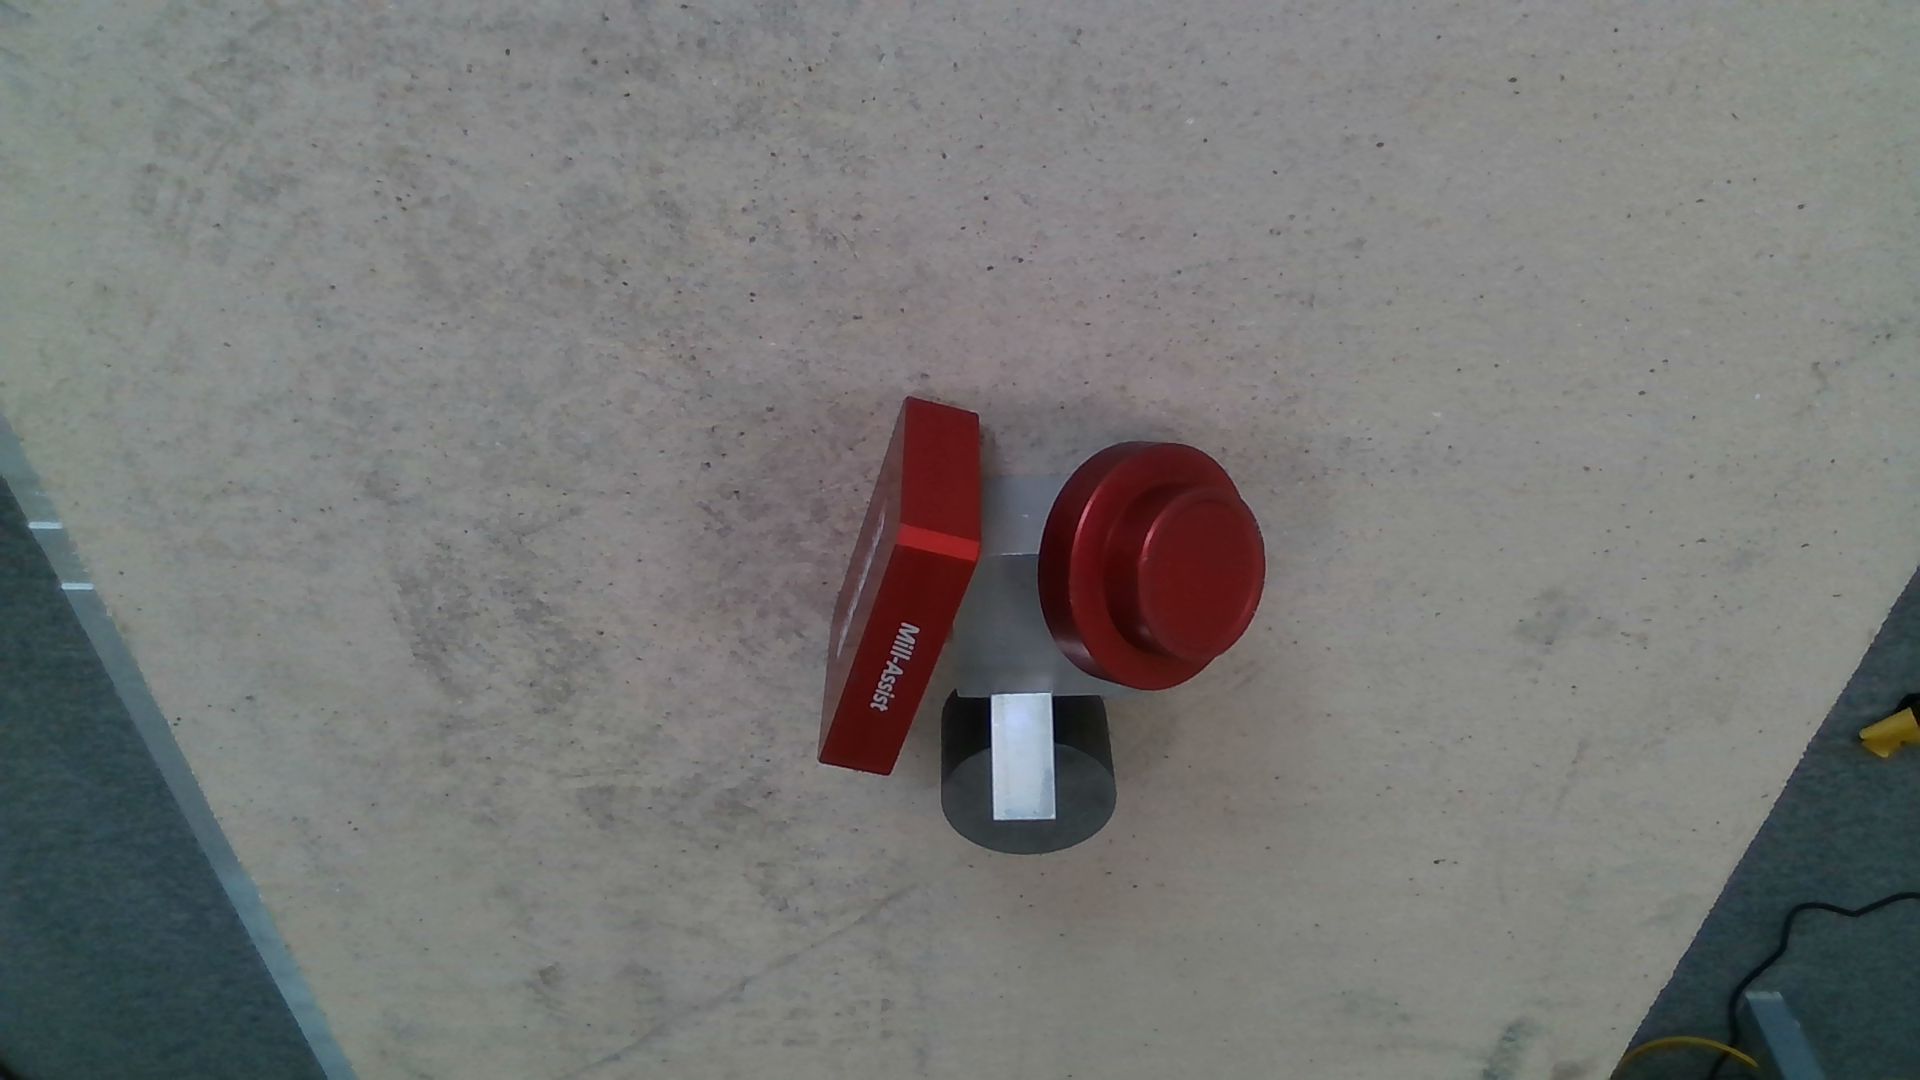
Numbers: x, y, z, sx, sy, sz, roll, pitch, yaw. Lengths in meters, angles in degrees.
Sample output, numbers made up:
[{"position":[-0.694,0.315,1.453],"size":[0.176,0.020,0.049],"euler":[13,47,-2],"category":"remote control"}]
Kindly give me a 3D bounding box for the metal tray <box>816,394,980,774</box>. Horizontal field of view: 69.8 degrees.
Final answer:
[{"position":[-0.026,0.019,0.553],"size":[0.030,0.090,0.130],"euler":[13,129,-11],"category":"metal tray"}]

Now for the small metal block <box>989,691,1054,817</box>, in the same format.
[{"position":[0.027,0.090,0.580],"size":[0.025,0.050,0.050],"euler":[-2,171,4],"category":"small metal block"}]

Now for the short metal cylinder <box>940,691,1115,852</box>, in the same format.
[{"position":[0.031,0.102,0.651],"size":[0.080,0.050,0.080],"euler":[0,130,0],"category":"short metal cylinder"}]

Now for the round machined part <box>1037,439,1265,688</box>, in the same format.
[{"position":[0.081,0.010,0.540],"size":[0.098,0.098,0.042],"euler":[46,161,-31],"category":"round machined part"}]

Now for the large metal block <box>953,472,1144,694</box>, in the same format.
[{"position":[0.037,0.018,0.581],"size":[0.080,0.050,0.080],"euler":[-1,130,1],"category":"large metal block"}]
